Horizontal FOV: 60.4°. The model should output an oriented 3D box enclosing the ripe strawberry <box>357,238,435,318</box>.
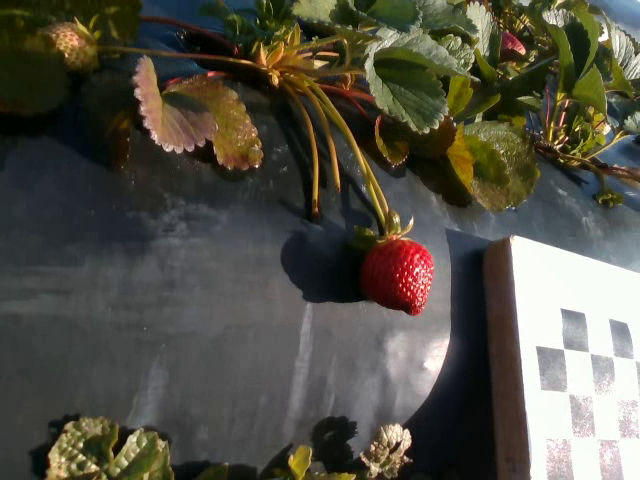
[{"bbox_3d":[0.036,0.019,0.246,0.040,0.044,0.036,-9,-22,-34],"label":"ripe strawberry"}]
